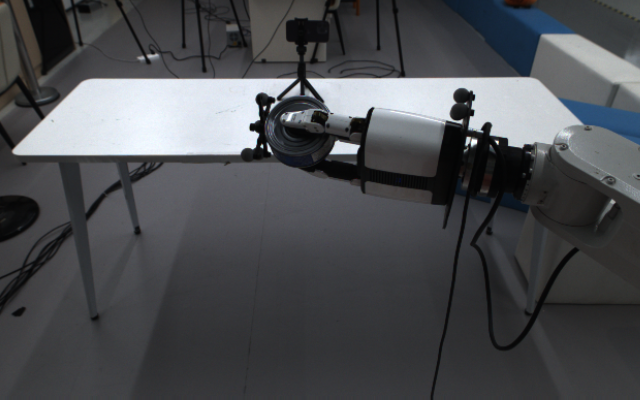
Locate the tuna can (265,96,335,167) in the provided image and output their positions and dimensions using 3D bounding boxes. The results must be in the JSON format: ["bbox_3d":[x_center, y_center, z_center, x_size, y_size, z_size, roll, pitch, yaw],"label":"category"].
[{"bbox_3d":[-0.023,-0.087,0.599,0.085,0.034,0.085,-2,68,6],"label":"tuna can"}]
